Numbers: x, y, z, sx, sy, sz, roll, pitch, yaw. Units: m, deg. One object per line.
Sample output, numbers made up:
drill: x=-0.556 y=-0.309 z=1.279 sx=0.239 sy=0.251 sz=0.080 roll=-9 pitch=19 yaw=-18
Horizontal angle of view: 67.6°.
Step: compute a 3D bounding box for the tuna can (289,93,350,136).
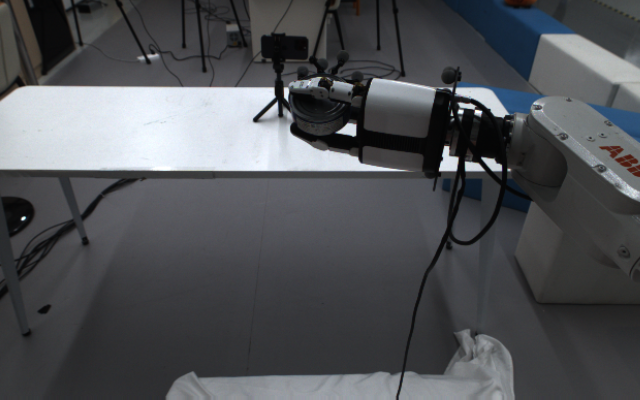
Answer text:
tuna can: x=0.000 y=-0.132 z=0.660 sx=0.085 sy=0.034 sz=0.085 roll=-2 pitch=58 yaw=4
